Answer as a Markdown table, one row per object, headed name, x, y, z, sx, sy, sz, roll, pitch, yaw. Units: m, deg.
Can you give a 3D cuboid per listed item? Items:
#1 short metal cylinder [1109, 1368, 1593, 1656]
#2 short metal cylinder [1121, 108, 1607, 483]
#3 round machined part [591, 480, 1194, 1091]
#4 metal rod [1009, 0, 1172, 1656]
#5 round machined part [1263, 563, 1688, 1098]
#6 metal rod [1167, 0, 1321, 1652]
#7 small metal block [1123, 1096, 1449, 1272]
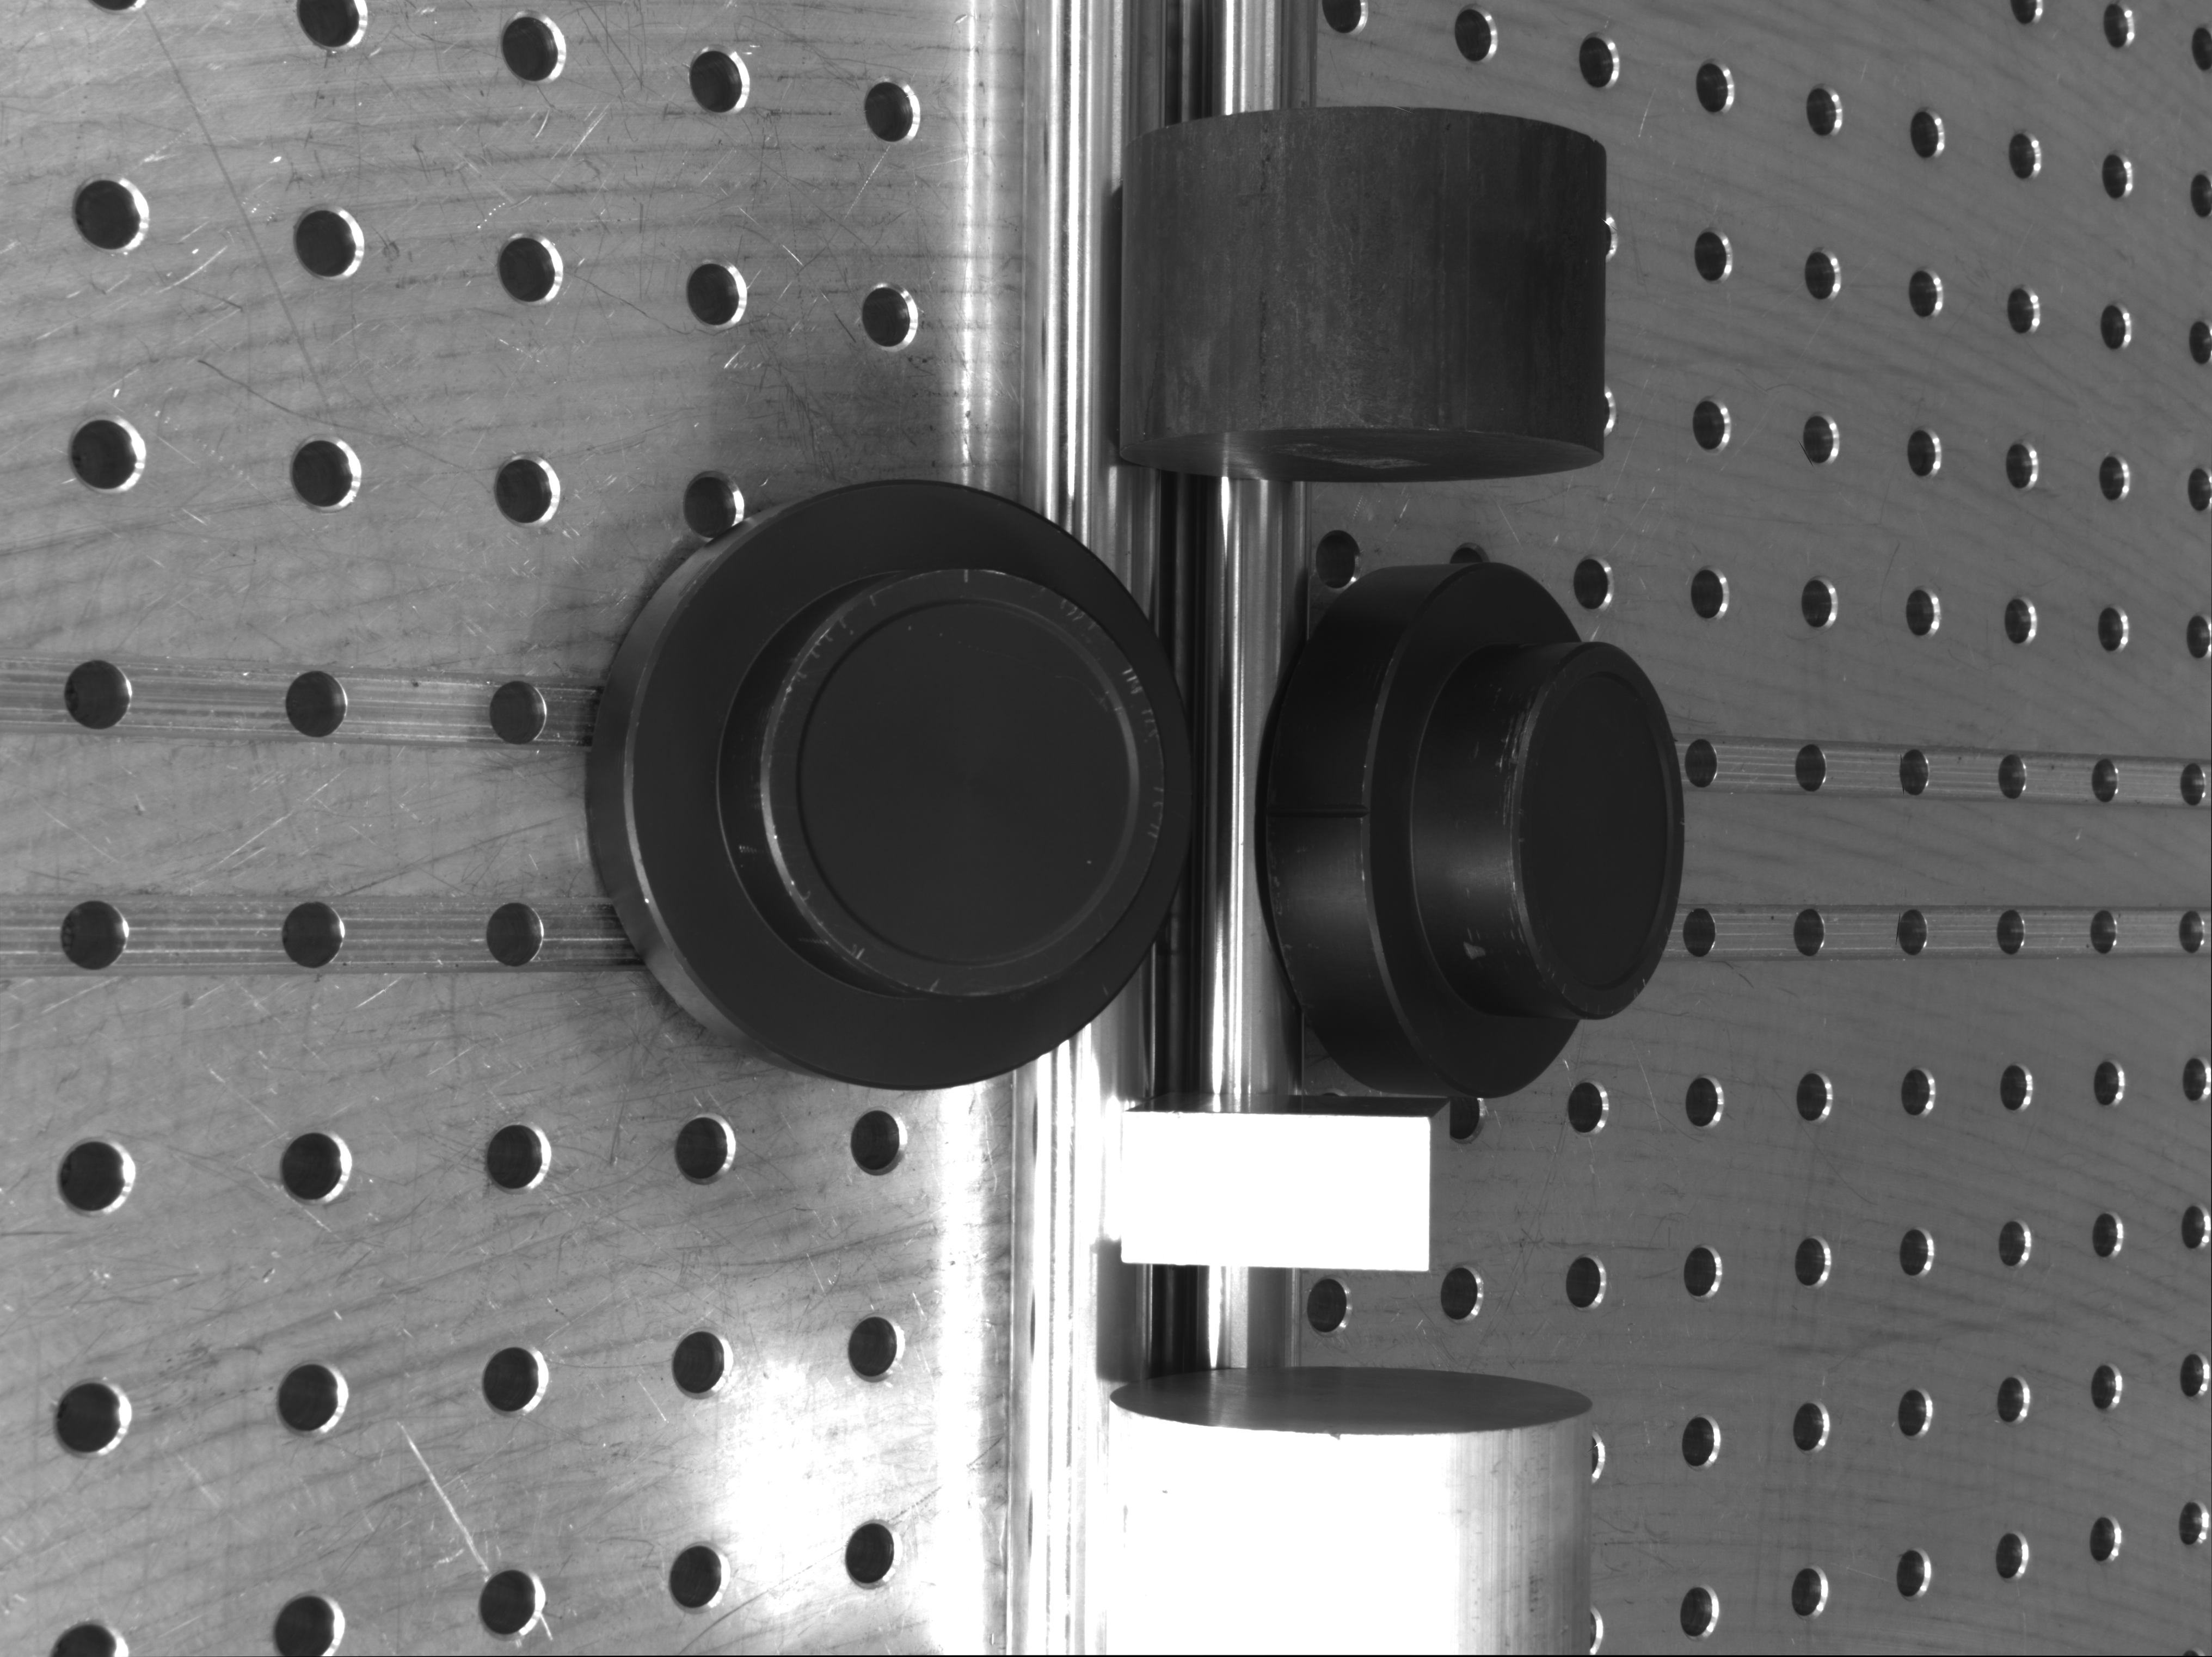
| name | x | y | z | sx | sy | sz | roll | pitch | yaw |
| --- | --- | --- | --- | --- | --- | --- | --- | --- | --- |
| short metal cylinder | 0.040 | 0.120 | 0.608 | 0.080 | 0.080 | 0.050 | 1 | 89 | -40 |
| short metal cylinder | 0.043 | -0.087 | 0.610 | 0.080 | 0.080 | 0.050 | 1 | 89 | -40 |
| round machined part | -0.029 | -0.007 | 0.587 | 0.098 | 0.042 | 0.098 | 0 | 90 | -26 |
| metal rod | -0.003 | -0.004 | 0.635 | 0.025 | 0.025 | 0.300 | 1 | 89 | -40 |
| round machined part | 0.073 | 0.000 | 0.671 | 0.098 | 0.042 | 0.098 | 0 | 90 | -55 |
| metal rod | 0.025 | -0.005 | 0.658 | 0.025 | 0.025 | 0.300 | 1 | 89 | -40 |
| small metal block | 0.032 | 0.059 | 0.618 | 0.050 | 0.050 | 0.025 | 9 | 82 | -81 |
